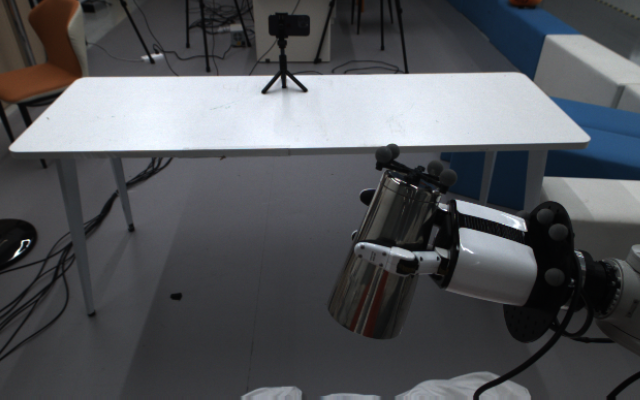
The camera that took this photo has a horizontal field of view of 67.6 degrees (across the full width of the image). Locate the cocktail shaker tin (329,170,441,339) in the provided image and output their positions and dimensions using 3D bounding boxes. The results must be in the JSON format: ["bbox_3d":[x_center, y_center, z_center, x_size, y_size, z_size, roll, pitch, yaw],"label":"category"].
[{"bbox_3d":[0.077,0.056,0.541,0.093,0.170,0.093,15,17,-5],"label":"cocktail shaker tin"}]
